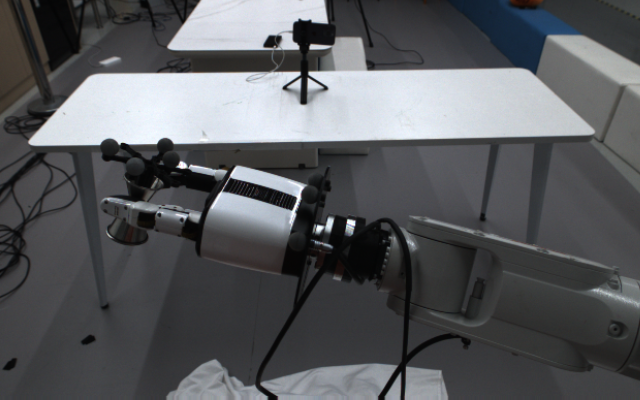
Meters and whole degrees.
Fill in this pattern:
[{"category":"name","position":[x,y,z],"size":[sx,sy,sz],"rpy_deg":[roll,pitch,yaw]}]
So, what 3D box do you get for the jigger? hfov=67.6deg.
[{"category":"jigger","position":[-0.194,0.008,0.509],"size":[0.043,0.071,0.043],"rpy_deg":[22,19,-8]}]
